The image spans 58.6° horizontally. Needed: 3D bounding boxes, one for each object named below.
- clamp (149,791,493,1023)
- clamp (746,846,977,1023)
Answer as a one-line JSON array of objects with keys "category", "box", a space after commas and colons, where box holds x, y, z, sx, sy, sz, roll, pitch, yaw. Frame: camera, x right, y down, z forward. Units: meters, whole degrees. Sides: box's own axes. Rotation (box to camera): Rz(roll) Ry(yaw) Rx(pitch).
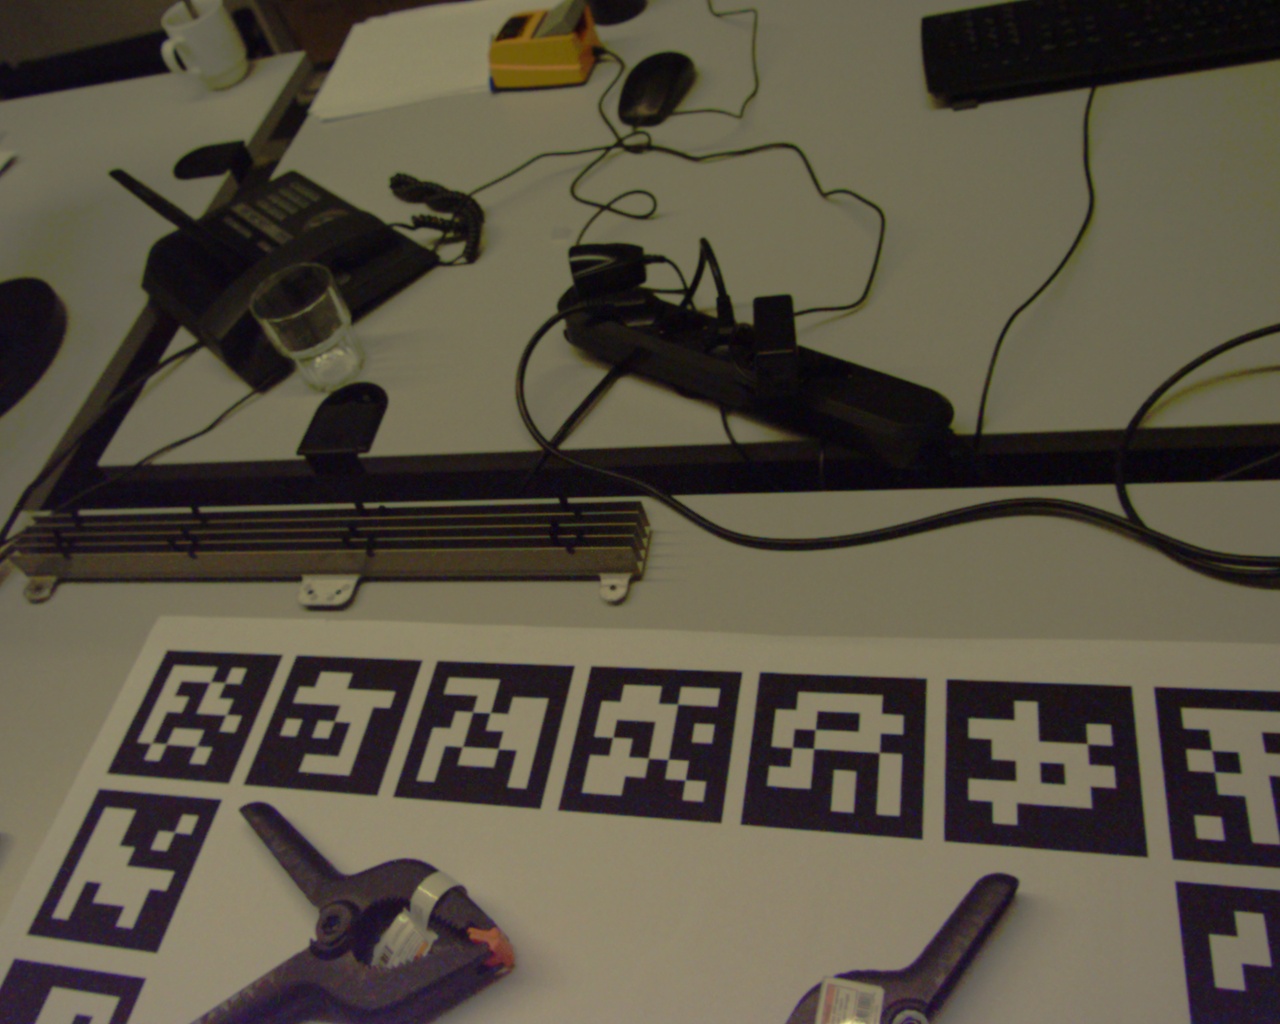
[{"category": "clamp", "box": [-0.188, 0.249, 0.694, 0.204, 0.036, 0.165, -3, 49, 15]}, {"category": "clamp", "box": [0.123, 0.257, 0.588, 0.165, 0.036, 0.123, -23, 56, 1]}]
